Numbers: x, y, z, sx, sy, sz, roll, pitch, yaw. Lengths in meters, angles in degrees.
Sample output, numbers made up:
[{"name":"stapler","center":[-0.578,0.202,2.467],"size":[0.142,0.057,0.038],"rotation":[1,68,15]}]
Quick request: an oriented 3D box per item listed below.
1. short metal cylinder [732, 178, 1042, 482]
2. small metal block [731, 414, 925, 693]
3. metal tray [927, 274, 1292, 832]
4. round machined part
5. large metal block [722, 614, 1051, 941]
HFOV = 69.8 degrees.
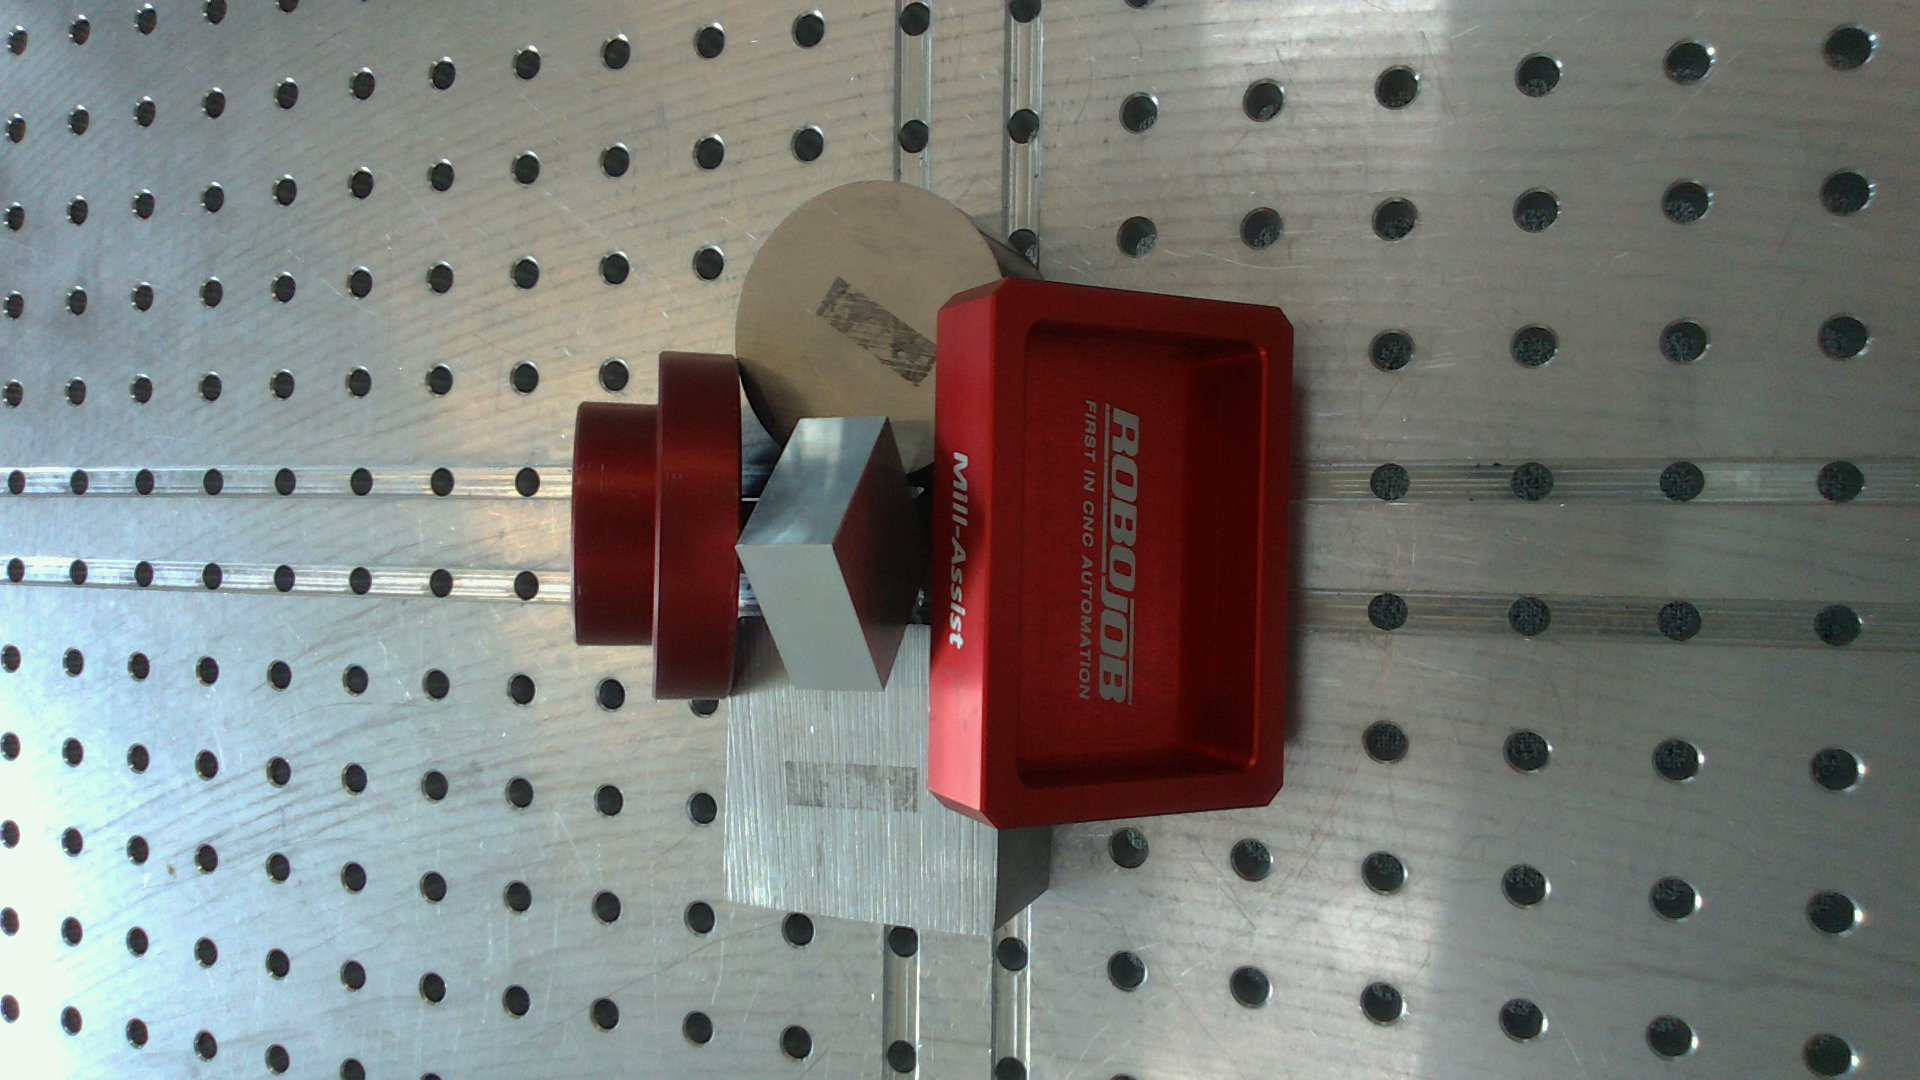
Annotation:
[{"name":"short metal cylinder","center":[-0.017,-0.056,0.390],"size":[0.080,0.050,0.080],"rotation":[0,90,20]},{"name":"small metal block","center":[-0.031,0.003,0.351],"size":[0.025,0.050,0.050],"rotation":[0,132,17]},{"name":"metal tray","center":[0.039,0.003,0.351],"size":[0.030,0.090,0.130],"rotation":[2,91,63]},{"name":"round machined part","center":[-0.087,-0.004,0.387],"size":[0.042,0.098,0.098],"rotation":[1,91,-13]},{"name":"large metal block","center":[-0.019,0.062,0.392],"size":[0.080,0.050,0.080],"rotation":[2,91,20]}]
